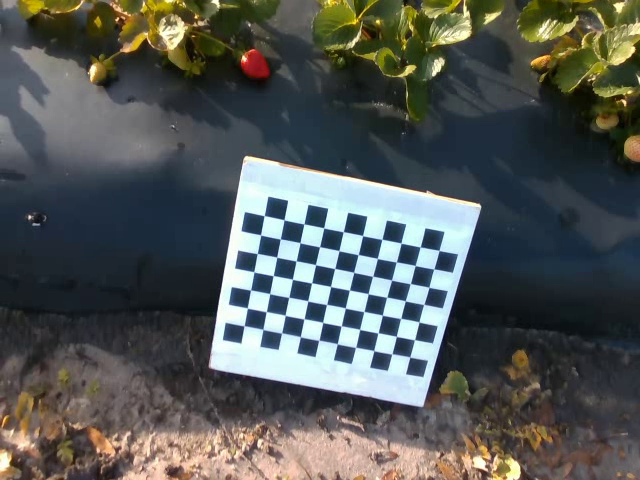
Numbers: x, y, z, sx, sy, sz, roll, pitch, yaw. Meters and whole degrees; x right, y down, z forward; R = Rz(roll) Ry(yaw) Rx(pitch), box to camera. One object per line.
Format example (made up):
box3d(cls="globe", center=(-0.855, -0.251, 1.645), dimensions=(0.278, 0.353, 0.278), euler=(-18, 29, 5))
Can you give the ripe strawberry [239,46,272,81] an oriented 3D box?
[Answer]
box3d(cls="ripe strawberry", center=(-0.068, -0.191, 0.739), dimensions=(0.045, 0.030, 0.033), euler=(47, 14, 17))
